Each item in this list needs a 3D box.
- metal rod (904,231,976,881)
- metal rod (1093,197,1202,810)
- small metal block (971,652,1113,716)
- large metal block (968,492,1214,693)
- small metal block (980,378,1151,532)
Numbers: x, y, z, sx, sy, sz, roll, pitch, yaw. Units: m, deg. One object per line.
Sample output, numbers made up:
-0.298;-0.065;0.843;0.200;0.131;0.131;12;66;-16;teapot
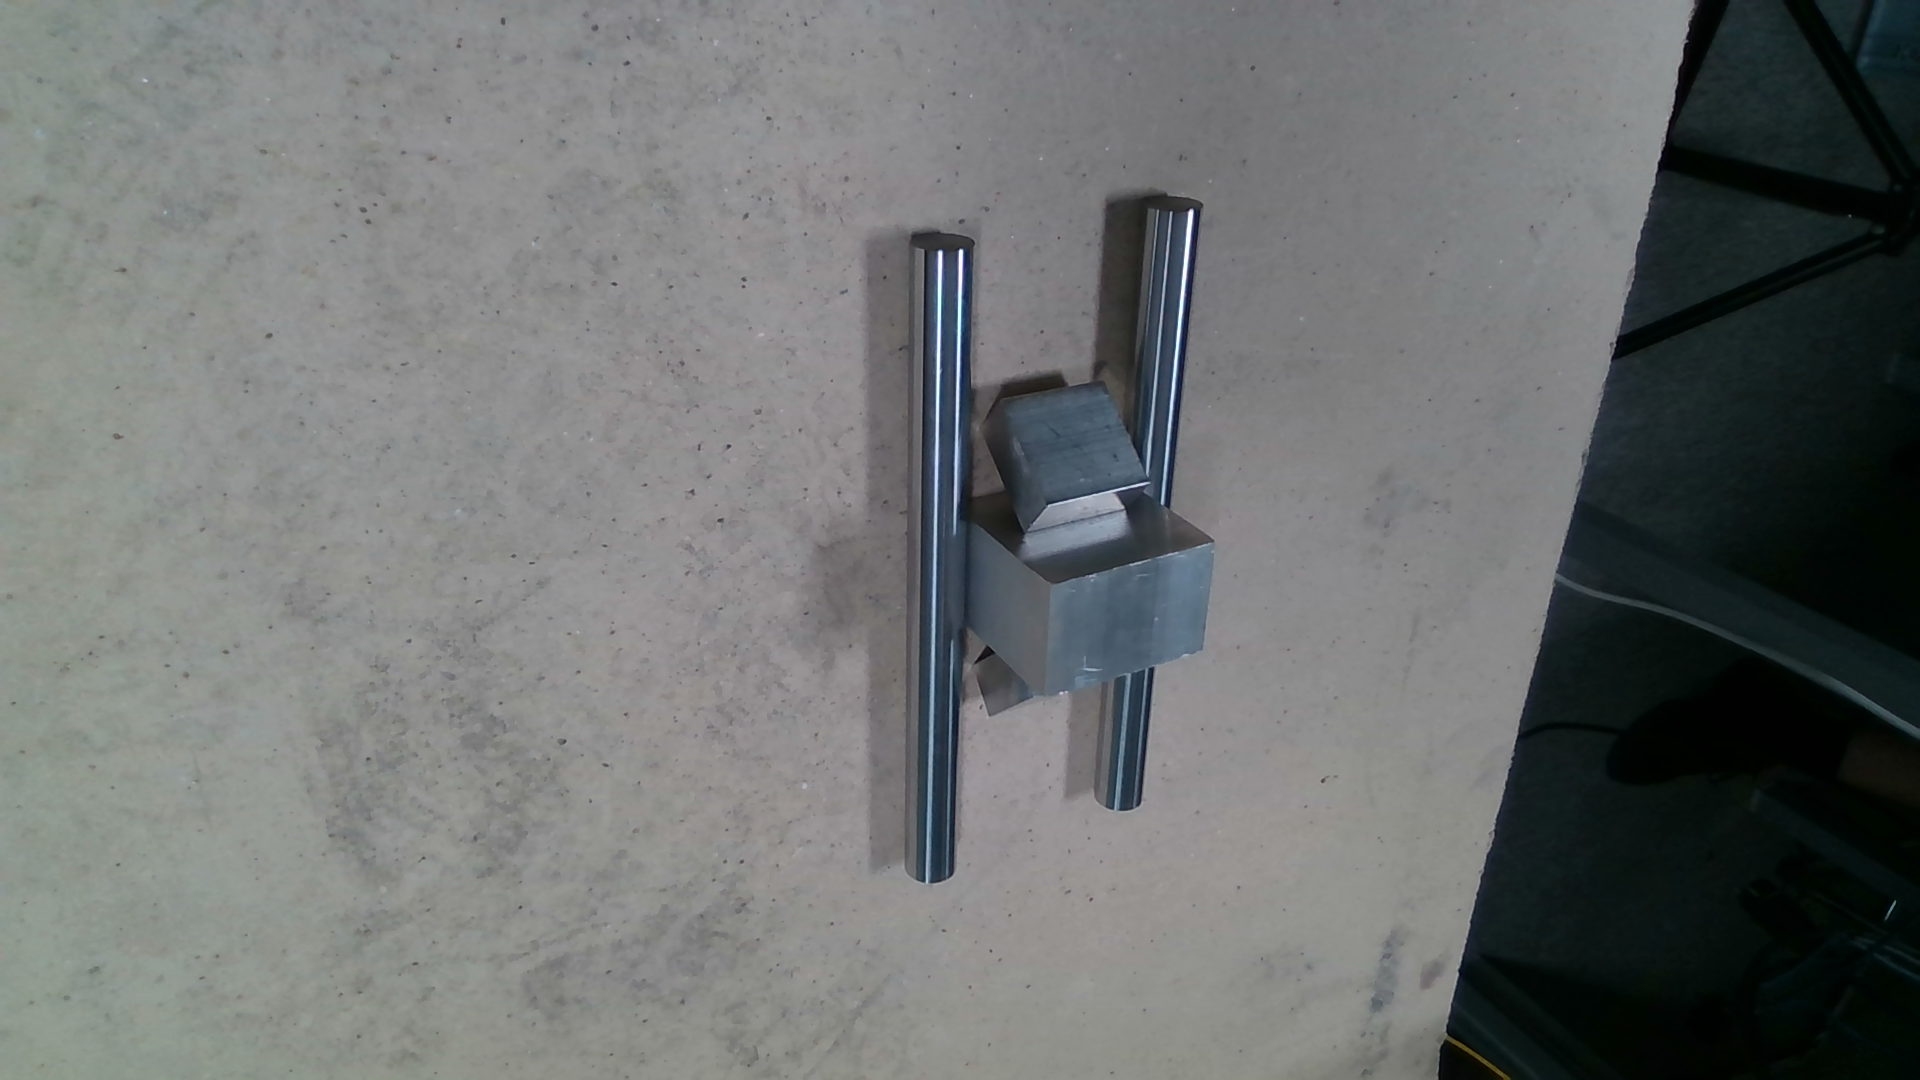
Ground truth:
-0.010;0.021;0.586;0.025;0.025;0.301;-13;121;-26;metal rod
0.083;-0.004;0.630;0.025;0.025;0.301;-13;121;-25;metal rod
0.040;0.056;0.618;0.050;0.050;0.025;-14;79;-26;small metal block
0.049;0.014;0.586;0.080;0.080;0.050;-14;121;-25;large metal block
0.043;-0.036;0.570;0.050;0.050;0.025;-13;160;-25;small metal block
